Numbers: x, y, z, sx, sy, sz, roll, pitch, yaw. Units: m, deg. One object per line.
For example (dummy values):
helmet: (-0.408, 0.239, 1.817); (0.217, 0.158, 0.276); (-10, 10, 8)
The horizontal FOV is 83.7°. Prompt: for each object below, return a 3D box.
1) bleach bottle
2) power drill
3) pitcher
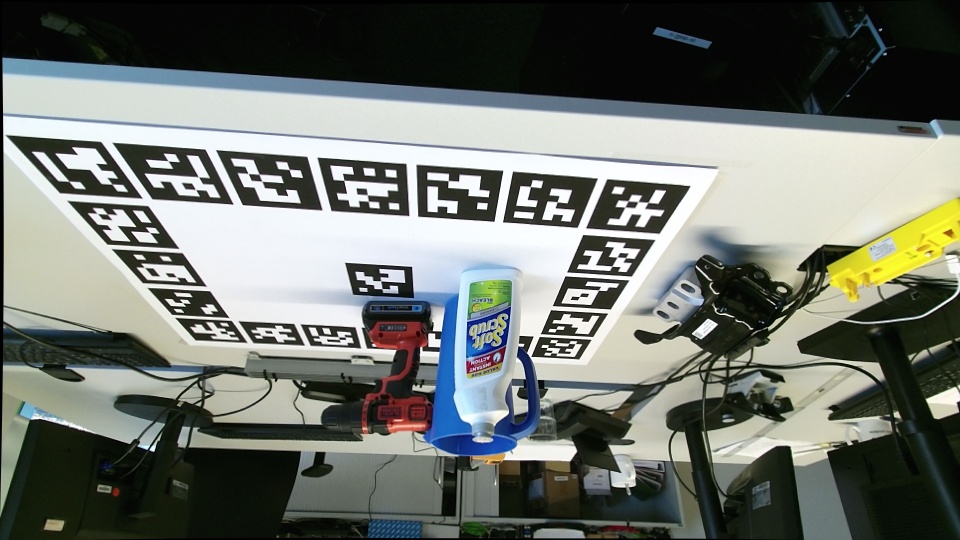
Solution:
bleach bottle: (0.021, 0.146, 0.776); (0.103, 0.249, 0.068); (-2, 146, 3)
power drill: (-0.167, 0.181, 0.882); (0.185, 0.186, 0.057); (4, 143, 5)
pitcher: (0.003, 0.186, 0.871); (0.189, 0.241, 0.133); (-13, 142, 19)
